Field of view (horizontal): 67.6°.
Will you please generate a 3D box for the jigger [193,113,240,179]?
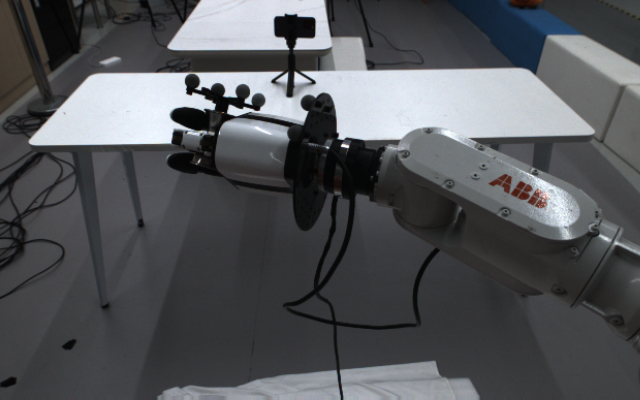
[{"bbox_3d":[-0.129,-0.073,0.590,0.043,0.071,0.043,13,1,0],"label":"jigger"}]
